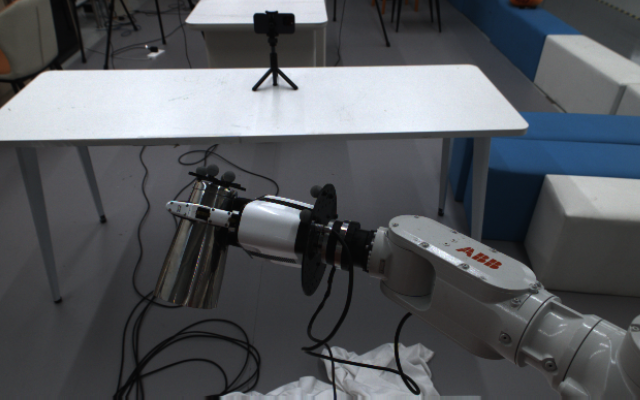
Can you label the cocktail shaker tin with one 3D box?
[{"bbox_3d":[-0.173,0.060,0.707,0.093,0.170,0.093,15,-5,1],"label":"cocktail shaker tin"}]
